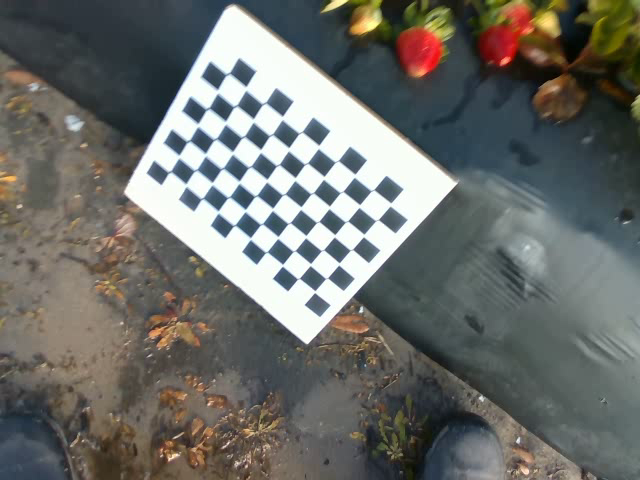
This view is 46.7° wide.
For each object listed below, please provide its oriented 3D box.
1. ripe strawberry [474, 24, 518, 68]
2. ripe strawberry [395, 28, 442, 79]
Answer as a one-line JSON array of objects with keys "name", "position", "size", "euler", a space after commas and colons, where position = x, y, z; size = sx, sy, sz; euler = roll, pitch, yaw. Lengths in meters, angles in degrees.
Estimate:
[{"name": "ripe strawberry", "position": [0.193, -0.202, 0.752], "size": [0.044, 0.055, 0.041], "euler": [-20, -39, 25]}, {"name": "ripe strawberry", "position": [0.109, -0.192, 0.739], "size": [0.050, 0.065, 0.050], "euler": [4, -34, 19]}]
